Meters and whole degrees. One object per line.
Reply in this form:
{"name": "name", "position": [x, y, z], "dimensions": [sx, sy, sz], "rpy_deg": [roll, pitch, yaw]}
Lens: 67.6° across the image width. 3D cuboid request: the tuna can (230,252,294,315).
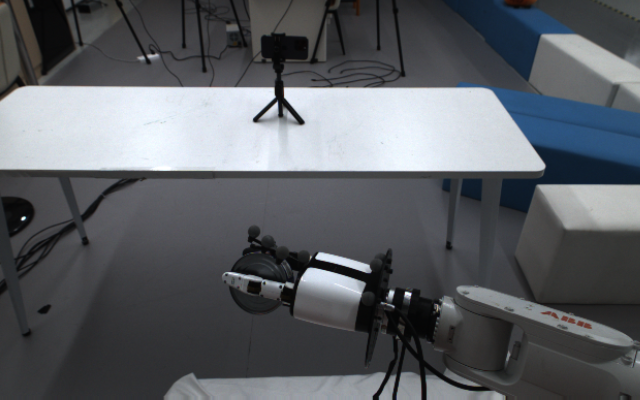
{"name": "tuna can", "position": [-0.078, 0.112, 0.669], "dimensions": [0.085, 0.085, 0.034], "rpy_deg": [13, 3, 16]}
